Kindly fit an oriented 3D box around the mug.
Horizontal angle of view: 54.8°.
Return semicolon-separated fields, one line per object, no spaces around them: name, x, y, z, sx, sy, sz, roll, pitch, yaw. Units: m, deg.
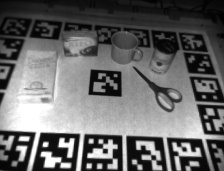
mug;0.050;-0.139;0.735;0.094;0.082;0.116;-30;64;-20

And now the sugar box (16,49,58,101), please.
sugar box;-0.224;-0.038;0.662;0.093;0.045;0.175;1;59;-4

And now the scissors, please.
scissors;0.136;-0.003;0.697;0.088;0.016;0.201;-38;70;-16

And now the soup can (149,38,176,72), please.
soup can;0.164;-0.100;0.722;0.068;0.102;0.067;3;56;-3

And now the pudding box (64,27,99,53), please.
pudding box;-0.098;-0.152;0.716;0.114;0.090;0.038;-5;64;-10
